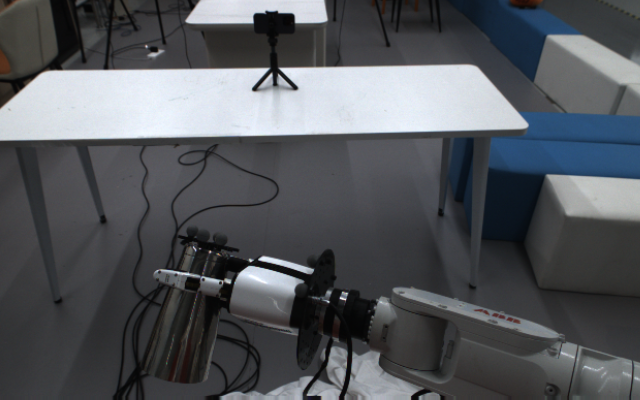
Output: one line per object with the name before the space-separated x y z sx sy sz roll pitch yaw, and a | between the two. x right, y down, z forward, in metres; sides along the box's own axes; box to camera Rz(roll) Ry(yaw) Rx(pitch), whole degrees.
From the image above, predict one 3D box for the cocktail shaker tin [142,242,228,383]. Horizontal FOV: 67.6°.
cocktail shaker tin | -0.177 0.153 0.668 0.093 0.170 0.093 15 -5 1
